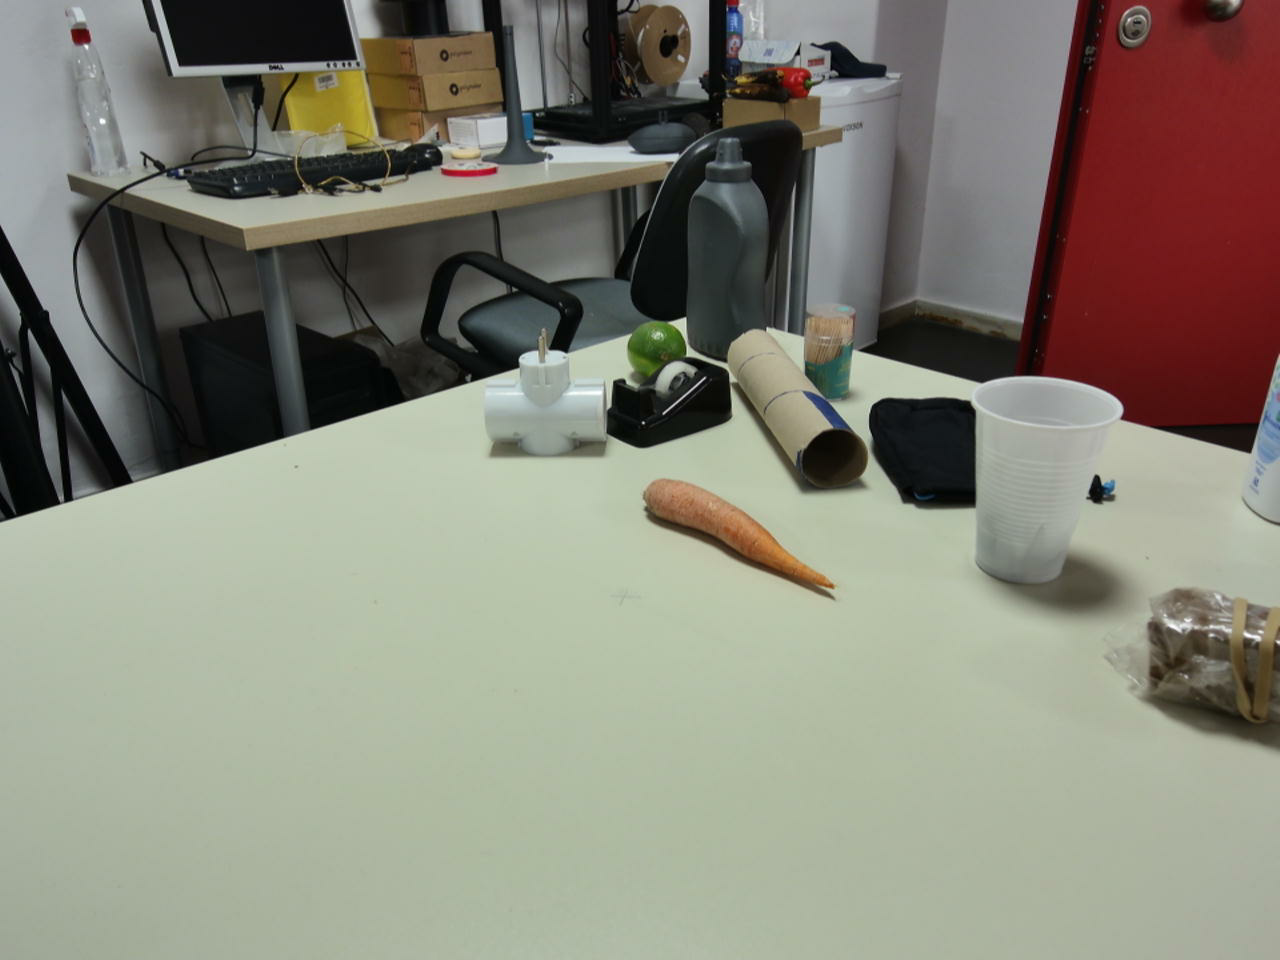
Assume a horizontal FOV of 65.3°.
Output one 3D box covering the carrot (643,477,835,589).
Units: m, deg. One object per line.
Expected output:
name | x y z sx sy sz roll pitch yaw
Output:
carrot | 0.060 0.030 0.628 0.031 0.029 0.163 -20 32 -38
